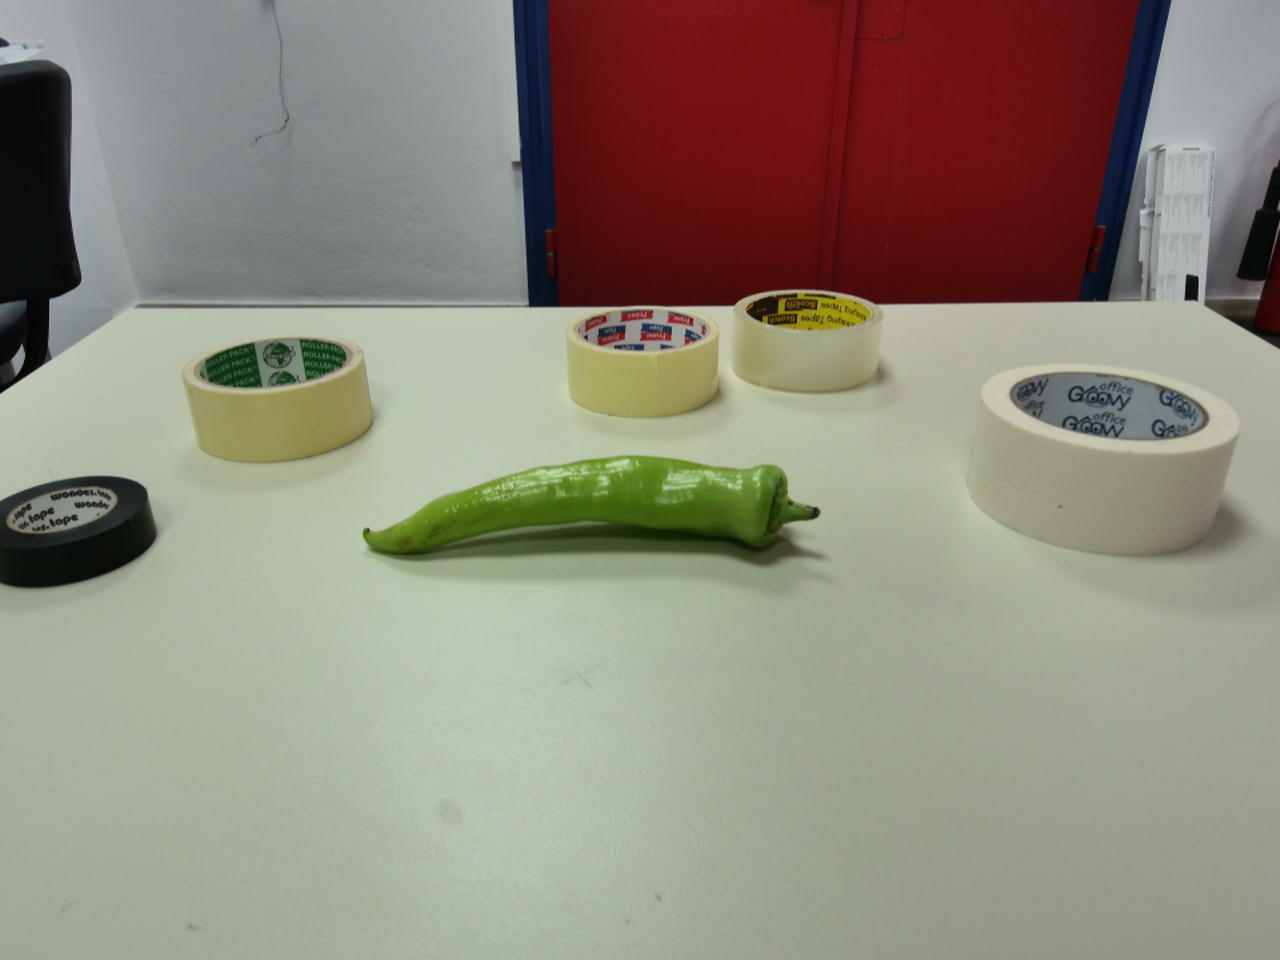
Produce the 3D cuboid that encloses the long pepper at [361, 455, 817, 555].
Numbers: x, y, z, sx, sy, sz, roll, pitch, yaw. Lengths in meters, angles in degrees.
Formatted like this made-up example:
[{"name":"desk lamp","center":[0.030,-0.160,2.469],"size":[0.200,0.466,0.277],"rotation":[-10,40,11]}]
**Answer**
[{"name":"long pepper","center":[-0.023,0.009,0.439],"size":[0.197,0.038,0.046],"rotation":[1,24,2]}]
